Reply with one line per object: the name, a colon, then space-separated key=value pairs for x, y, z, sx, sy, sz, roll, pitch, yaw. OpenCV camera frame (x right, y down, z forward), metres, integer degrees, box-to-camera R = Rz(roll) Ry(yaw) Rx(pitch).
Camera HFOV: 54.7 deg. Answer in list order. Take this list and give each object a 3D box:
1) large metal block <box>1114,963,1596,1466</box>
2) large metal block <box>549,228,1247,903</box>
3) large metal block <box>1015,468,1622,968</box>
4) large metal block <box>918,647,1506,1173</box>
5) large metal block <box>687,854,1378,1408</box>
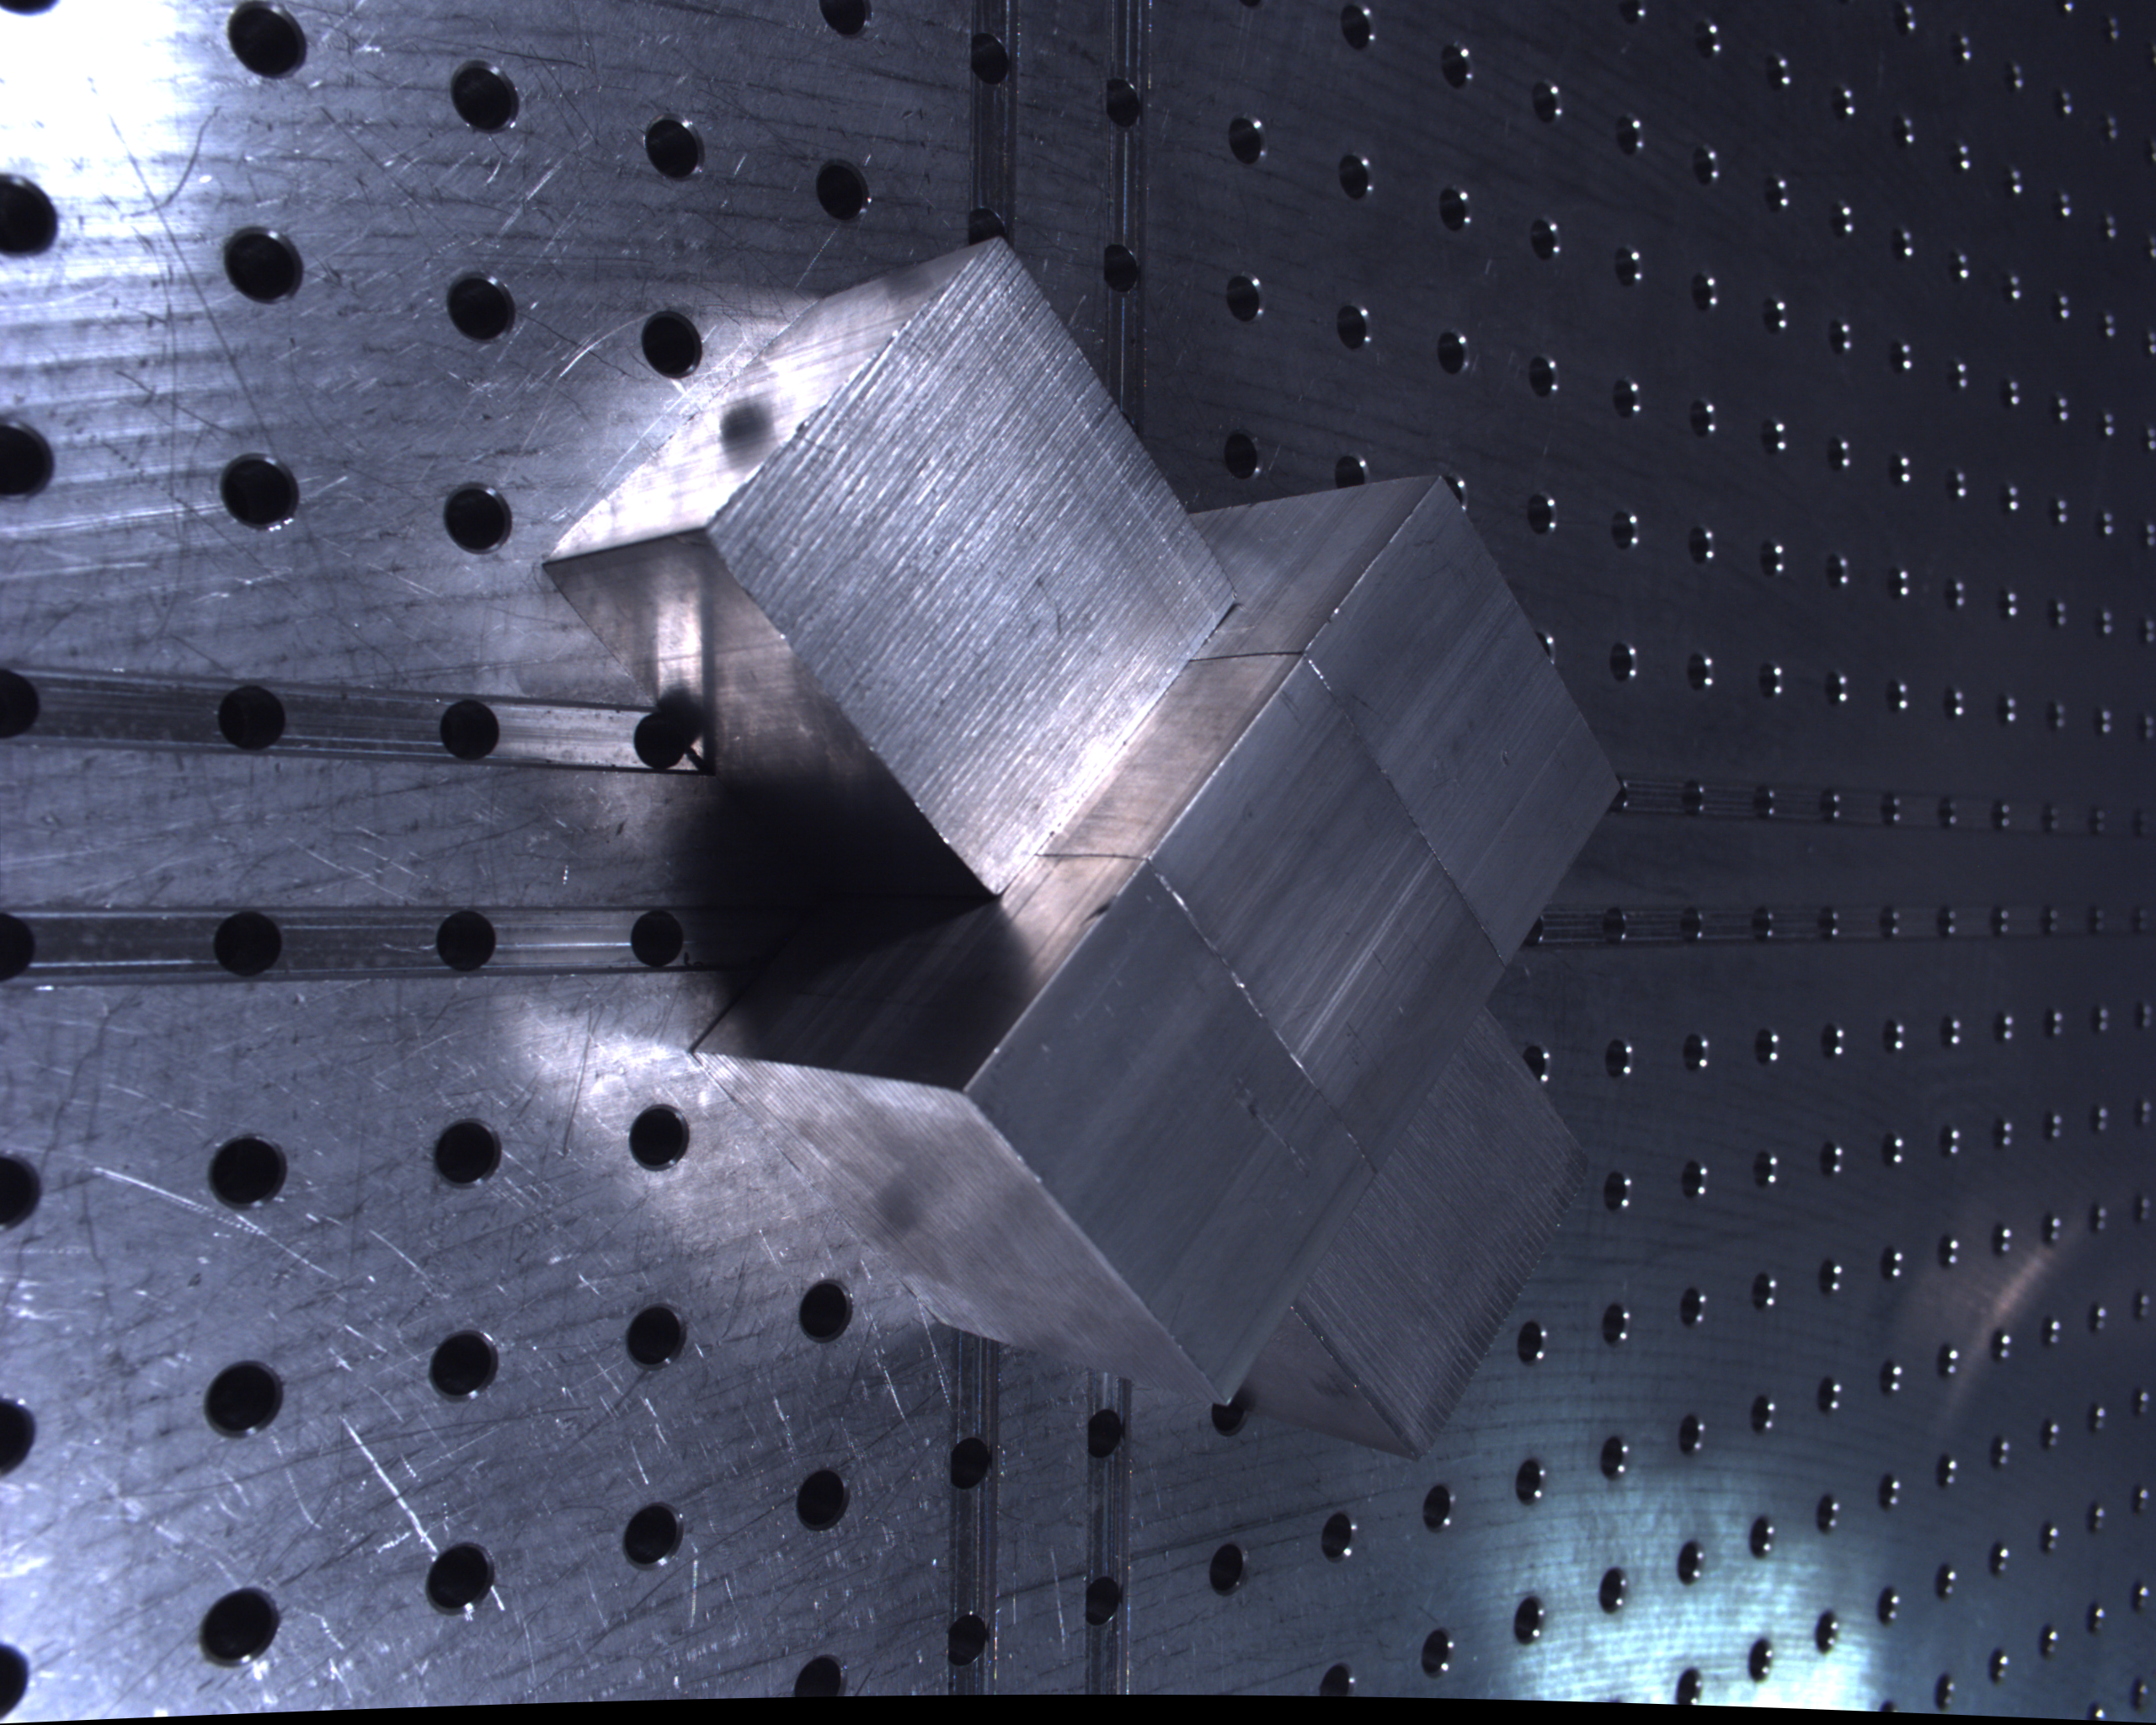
large metal block: x=0.054 y=0.065 z=0.441 sx=0.080 sy=0.050 sz=0.080 roll=-51 pitch=120 yaw=-27
large metal block: x=-0.029 y=-0.050 z=0.367 sx=0.080 sy=0.050 sz=0.080 roll=-52 pitch=121 yaw=-26
large metal block: x=0.047 y=-0.026 z=0.416 sx=0.050 sy=0.080 sz=0.080 roll=-52 pitch=121 yaw=-27
large metal block: x=0.019 y=0.009 z=0.392 sx=0.050 sy=0.080 sz=0.080 roll=-52 pitch=121 yaw=-27
large metal block: x=-0.008 y=0.044 z=0.369 sx=0.050 sy=0.080 sz=0.080 roll=-52 pitch=121 yaw=-27
